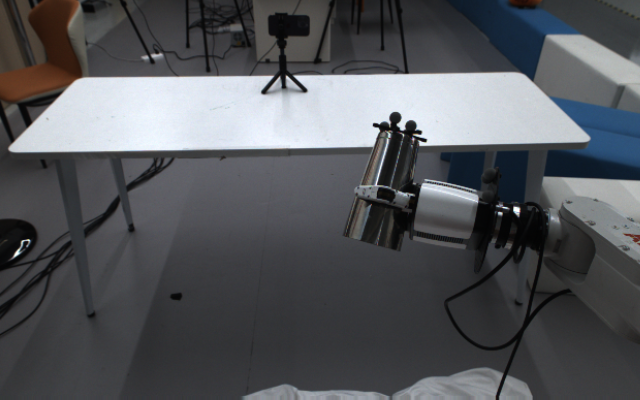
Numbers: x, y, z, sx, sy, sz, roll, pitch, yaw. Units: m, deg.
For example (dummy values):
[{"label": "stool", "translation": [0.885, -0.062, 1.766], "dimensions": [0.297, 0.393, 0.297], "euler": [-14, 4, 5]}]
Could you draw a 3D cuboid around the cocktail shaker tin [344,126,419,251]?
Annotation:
[{"label": "cocktail shaker tin", "translation": [0.100, -0.016, 0.744], "dimensions": [0.093, 0.170, 0.093], "euler": [15, -4, 1]}]
